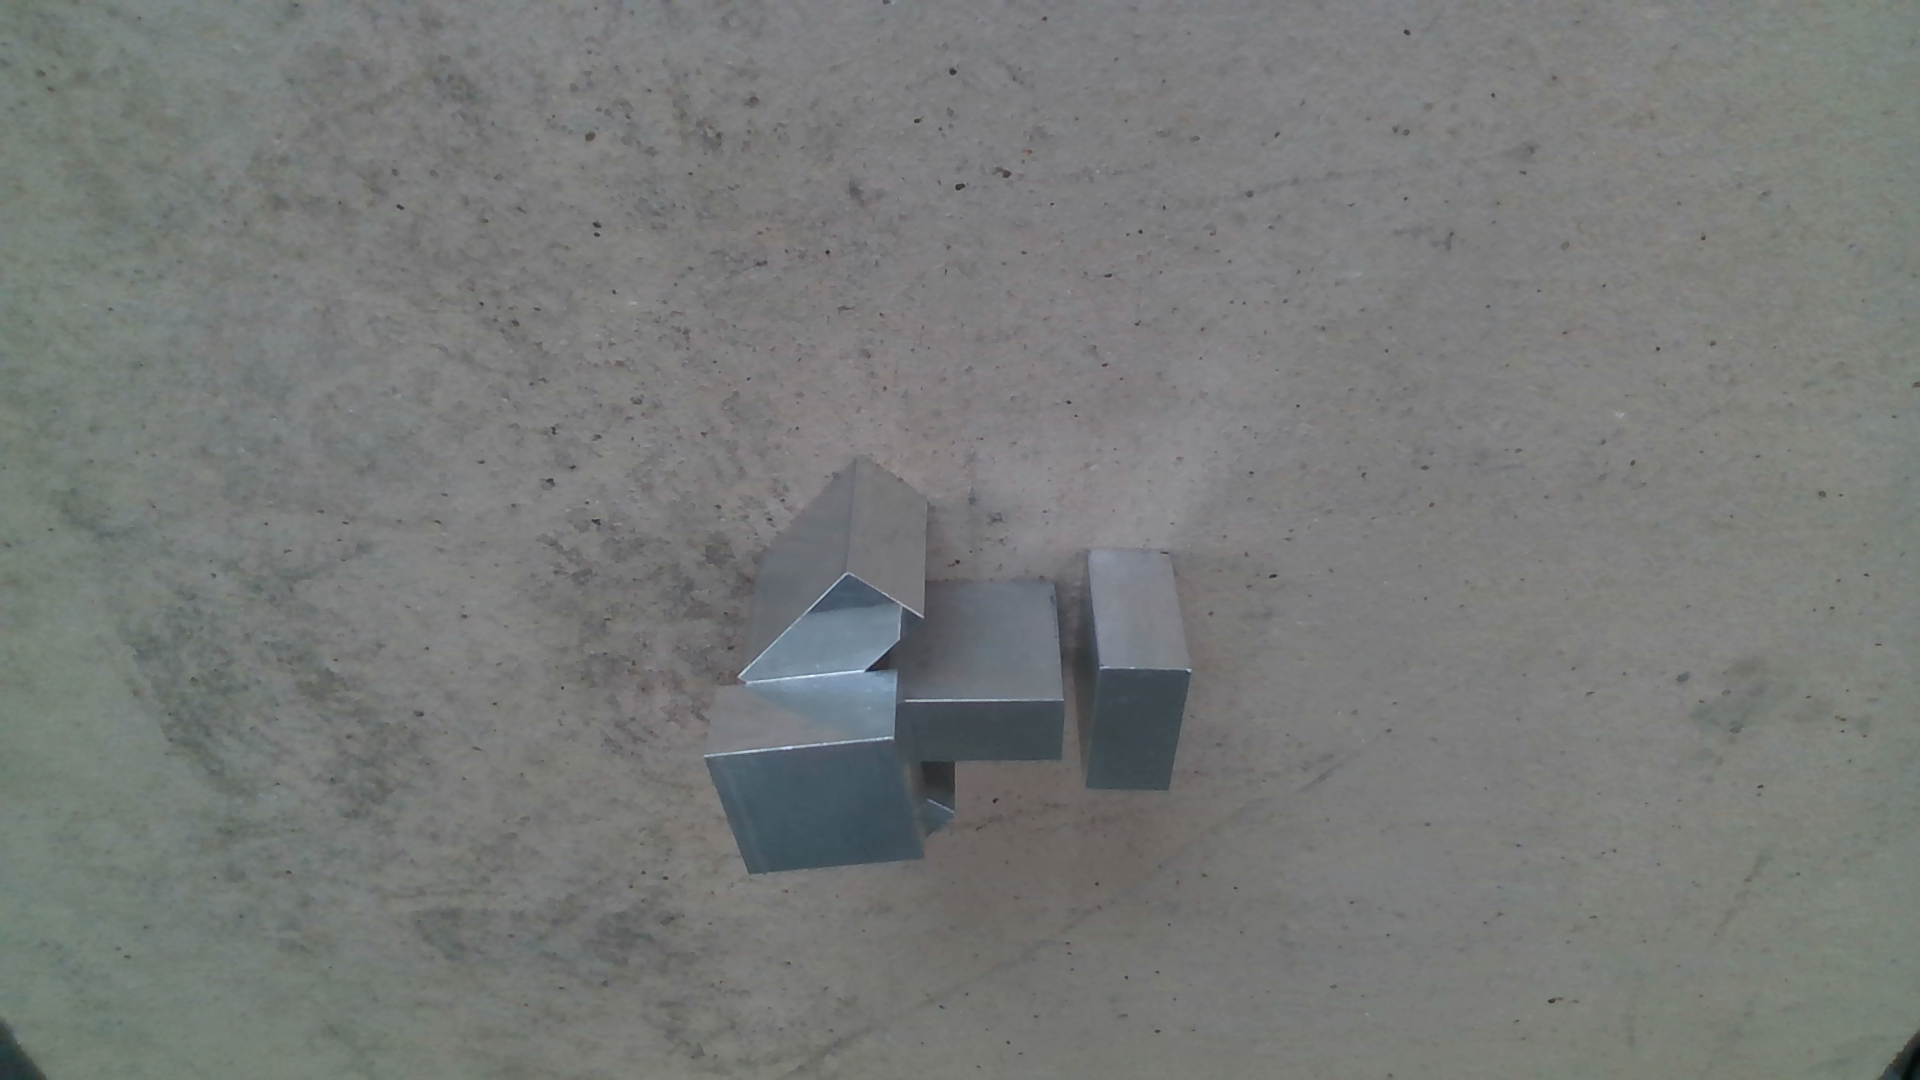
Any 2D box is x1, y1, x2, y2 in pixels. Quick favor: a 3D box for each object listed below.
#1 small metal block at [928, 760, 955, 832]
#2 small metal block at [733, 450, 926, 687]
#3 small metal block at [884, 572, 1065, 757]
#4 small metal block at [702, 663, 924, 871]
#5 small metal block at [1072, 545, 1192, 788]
[{"bbox_3d":[-0.029,0.060,0.424,0.050,0.050,0.025,30,124,-23],"label":"small metal block"},{"bbox_3d":[-0.035,0.012,0.382,0.025,0.050,0.050,32,124,-25],"label":"small metal block"},{"bbox_3d":[0.004,0.036,0.404,0.050,0.050,0.025,-1,131,0],"label":"small metal block"},{"bbox_3d":[-0.038,0.063,0.378,0.050,0.025,0.050,-6,129,5],"label":"small metal block"},{"bbox_3d":[0.049,0.037,0.404,0.025,0.050,0.050,1,130,-1],"label":"small metal block"}]
